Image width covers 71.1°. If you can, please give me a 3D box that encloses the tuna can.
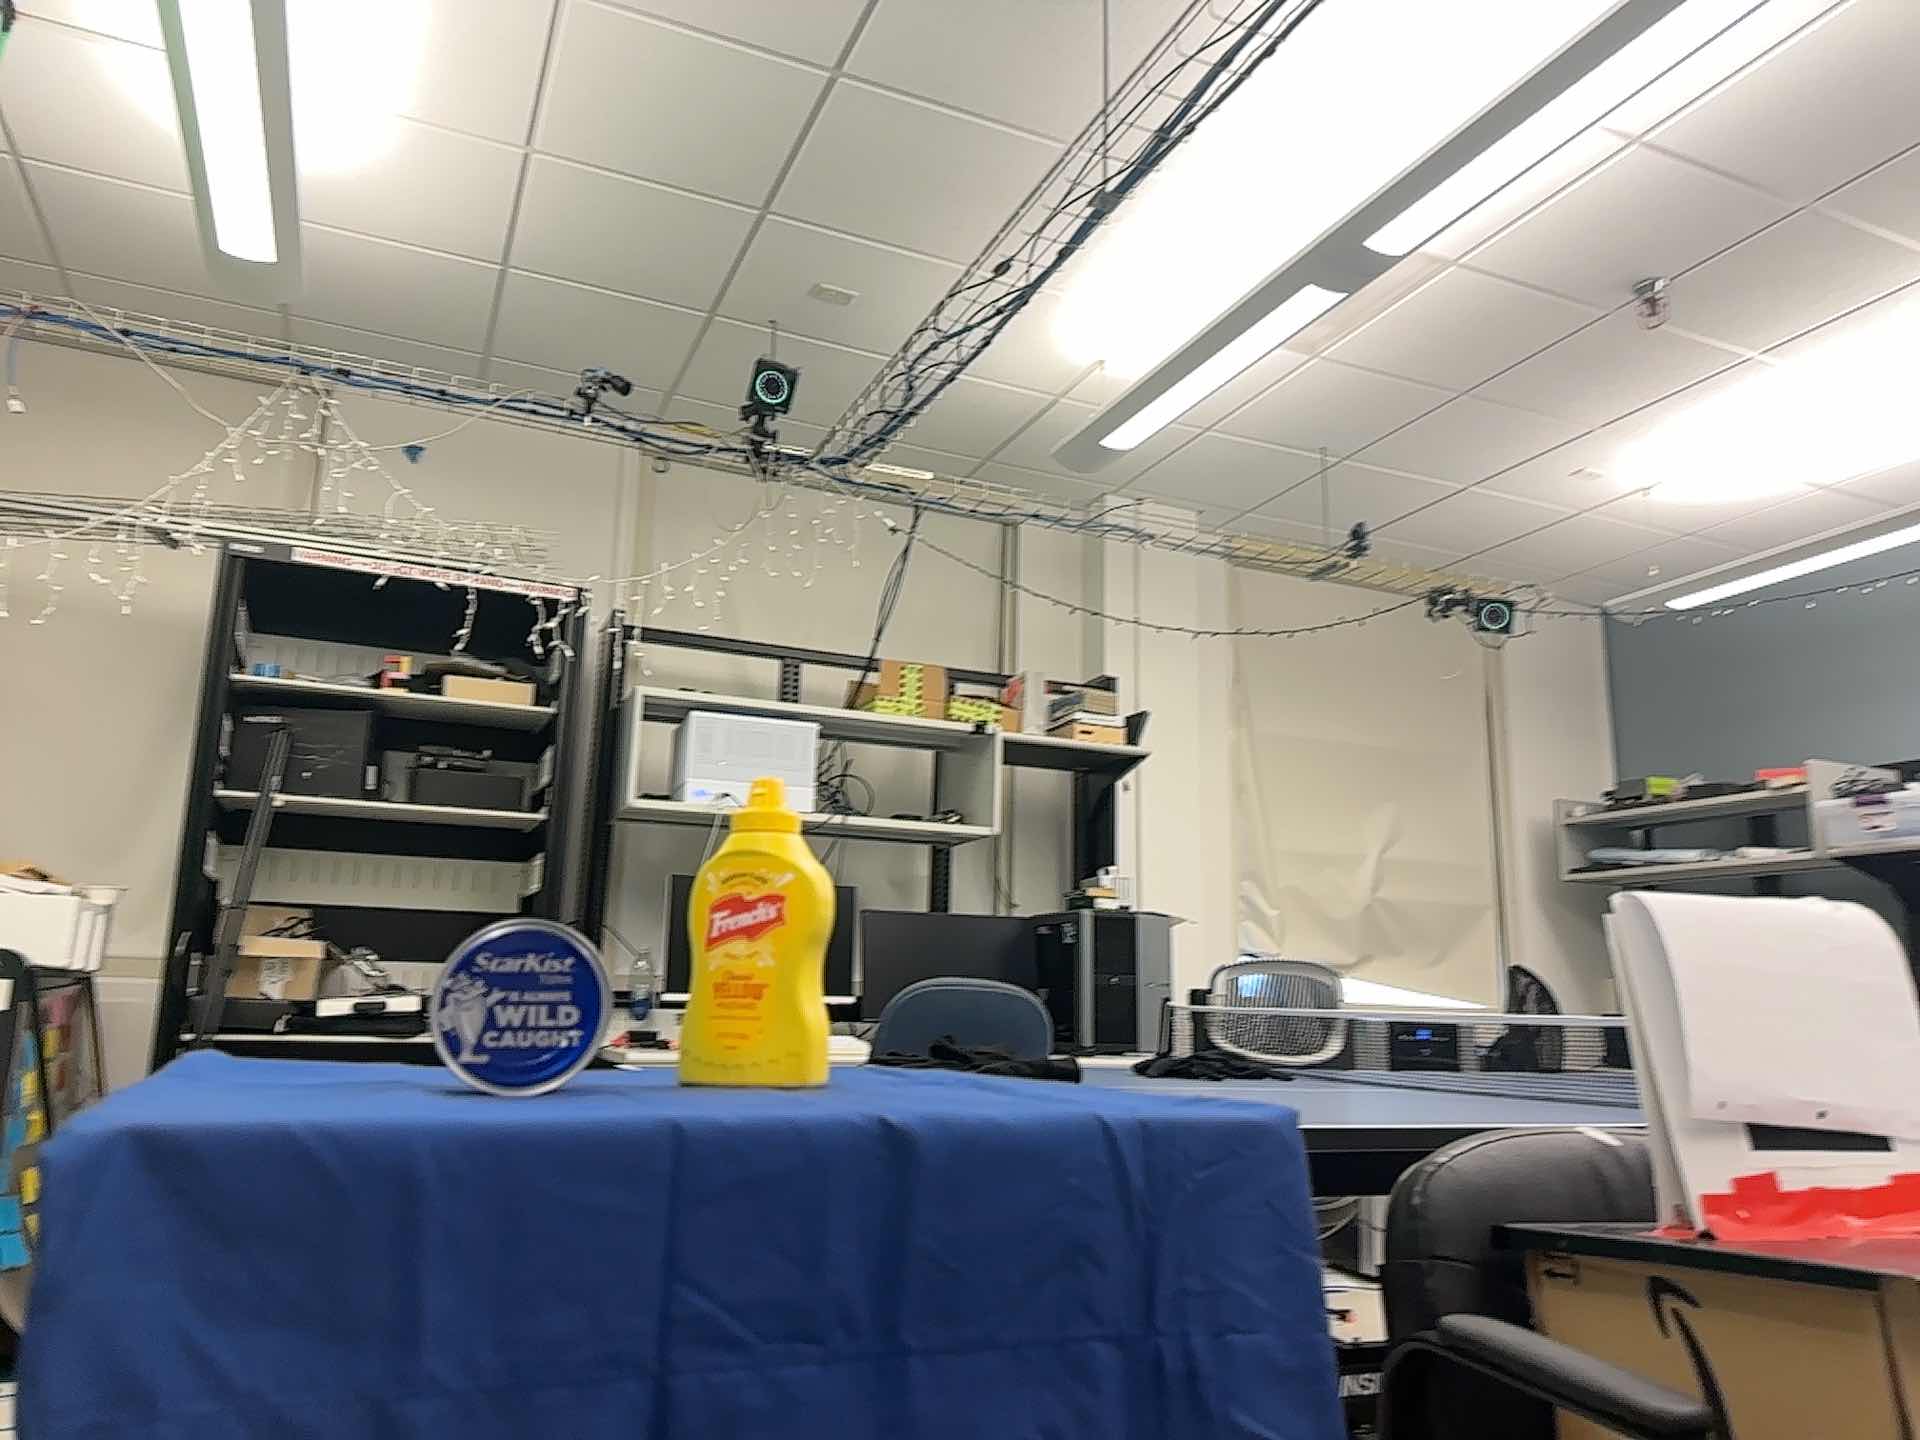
[{"bbox_3d":[-0.224,0.148,0.691,0.083,0.083,0.034,5,-13,-19],"label":"tuna can"}]

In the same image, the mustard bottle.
[{"bbox_3d":[-0.120,0.121,0.790,0.092,0.184,0.054,-5,-13,27],"label":"mustard bottle"}]
